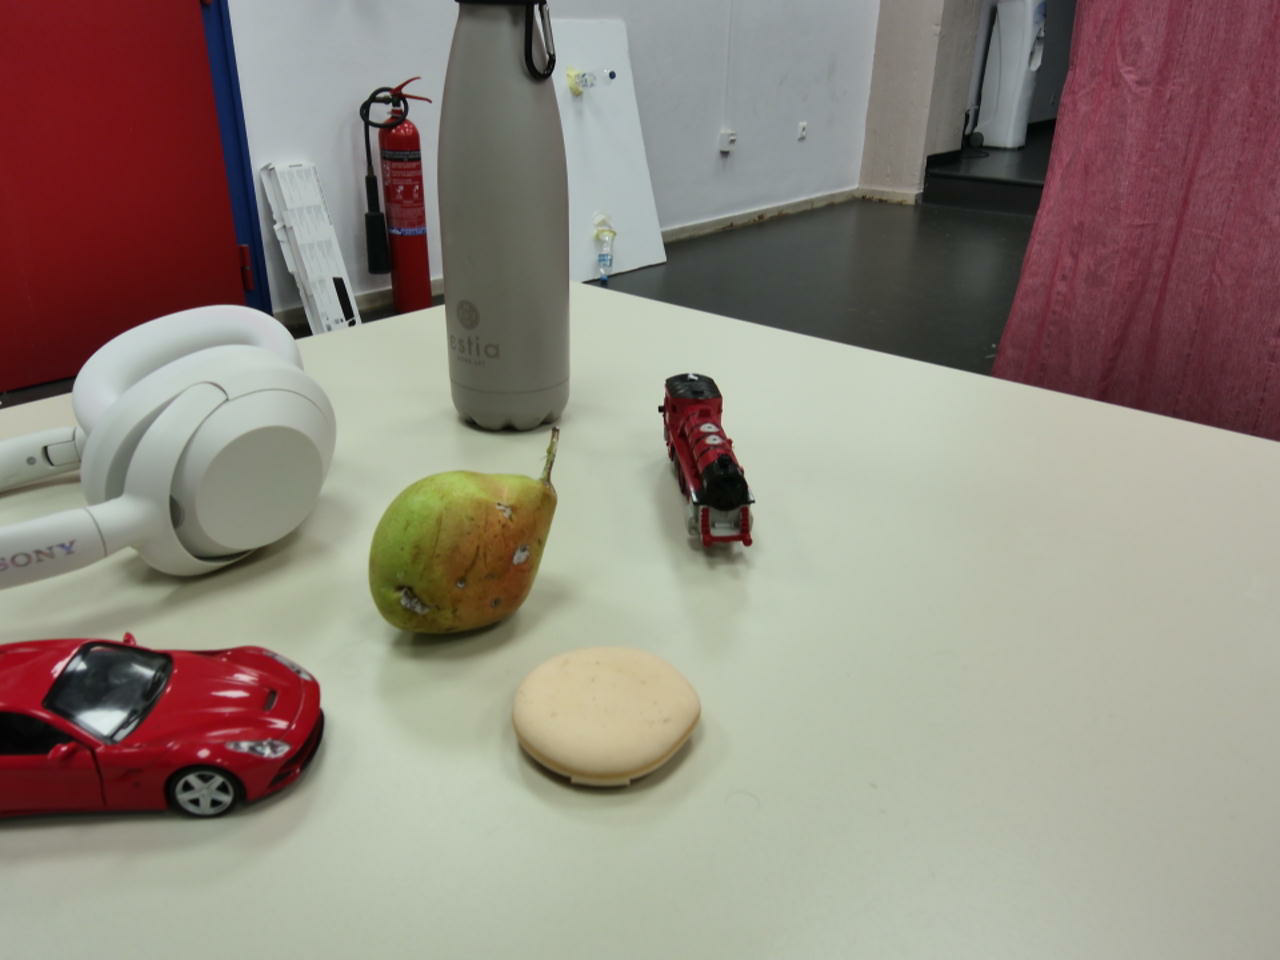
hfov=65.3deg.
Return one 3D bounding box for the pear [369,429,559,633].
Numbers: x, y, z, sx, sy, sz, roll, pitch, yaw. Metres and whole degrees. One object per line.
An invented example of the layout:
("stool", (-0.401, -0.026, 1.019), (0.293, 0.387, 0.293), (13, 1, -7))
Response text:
("pear", (-0.068, 0.024, 0.387), (0.070, 0.069, 0.068), (0, 23, 0))
